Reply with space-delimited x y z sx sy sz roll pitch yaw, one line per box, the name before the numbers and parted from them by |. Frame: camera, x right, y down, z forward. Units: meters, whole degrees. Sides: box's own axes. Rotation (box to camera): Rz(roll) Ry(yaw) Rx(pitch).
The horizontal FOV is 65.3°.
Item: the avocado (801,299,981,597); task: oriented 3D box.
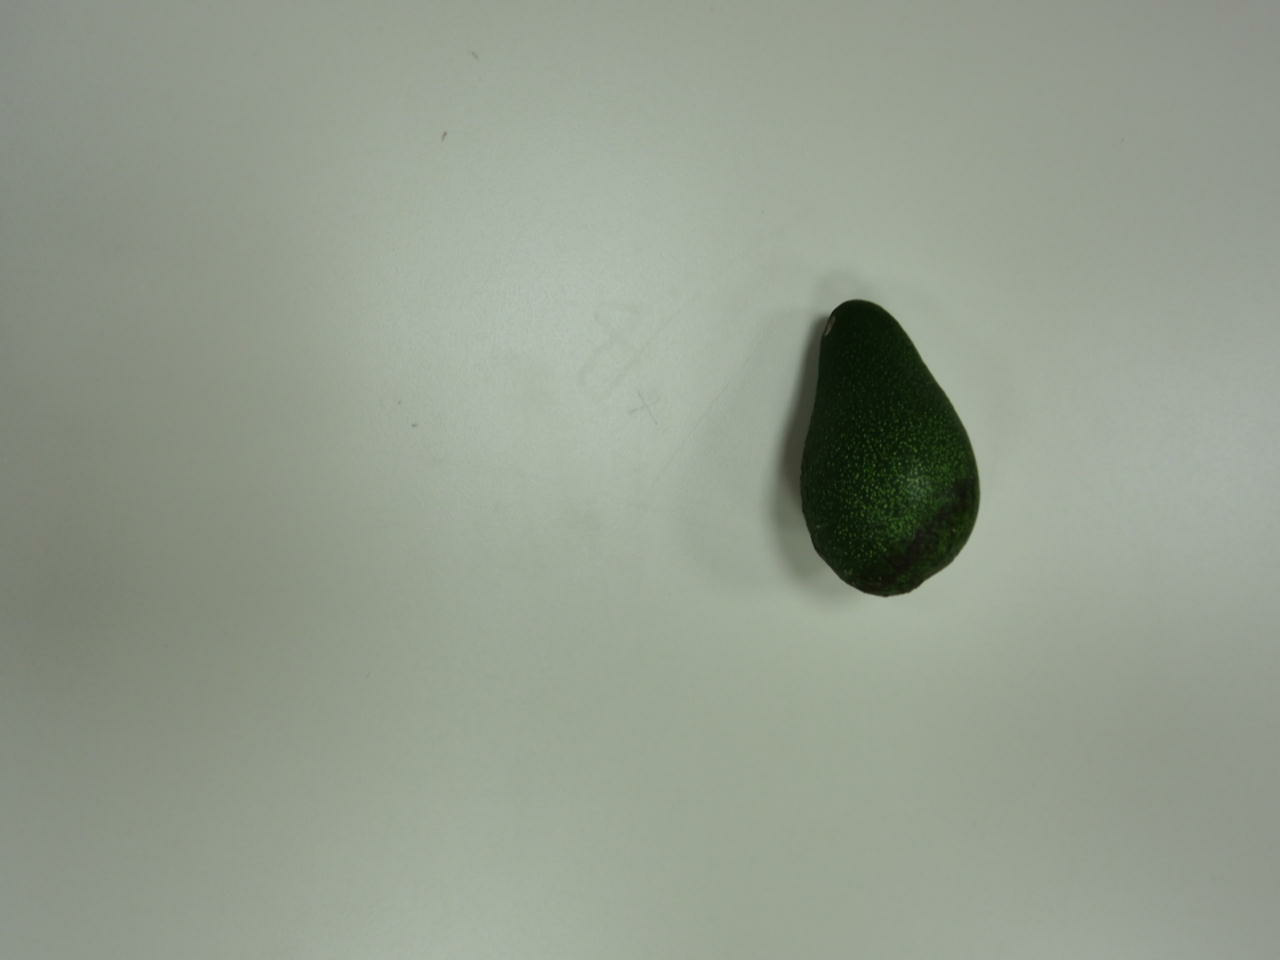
avocado | 0.108 -0.012 0.419 0.074 0.076 0.123 15 87 -11
